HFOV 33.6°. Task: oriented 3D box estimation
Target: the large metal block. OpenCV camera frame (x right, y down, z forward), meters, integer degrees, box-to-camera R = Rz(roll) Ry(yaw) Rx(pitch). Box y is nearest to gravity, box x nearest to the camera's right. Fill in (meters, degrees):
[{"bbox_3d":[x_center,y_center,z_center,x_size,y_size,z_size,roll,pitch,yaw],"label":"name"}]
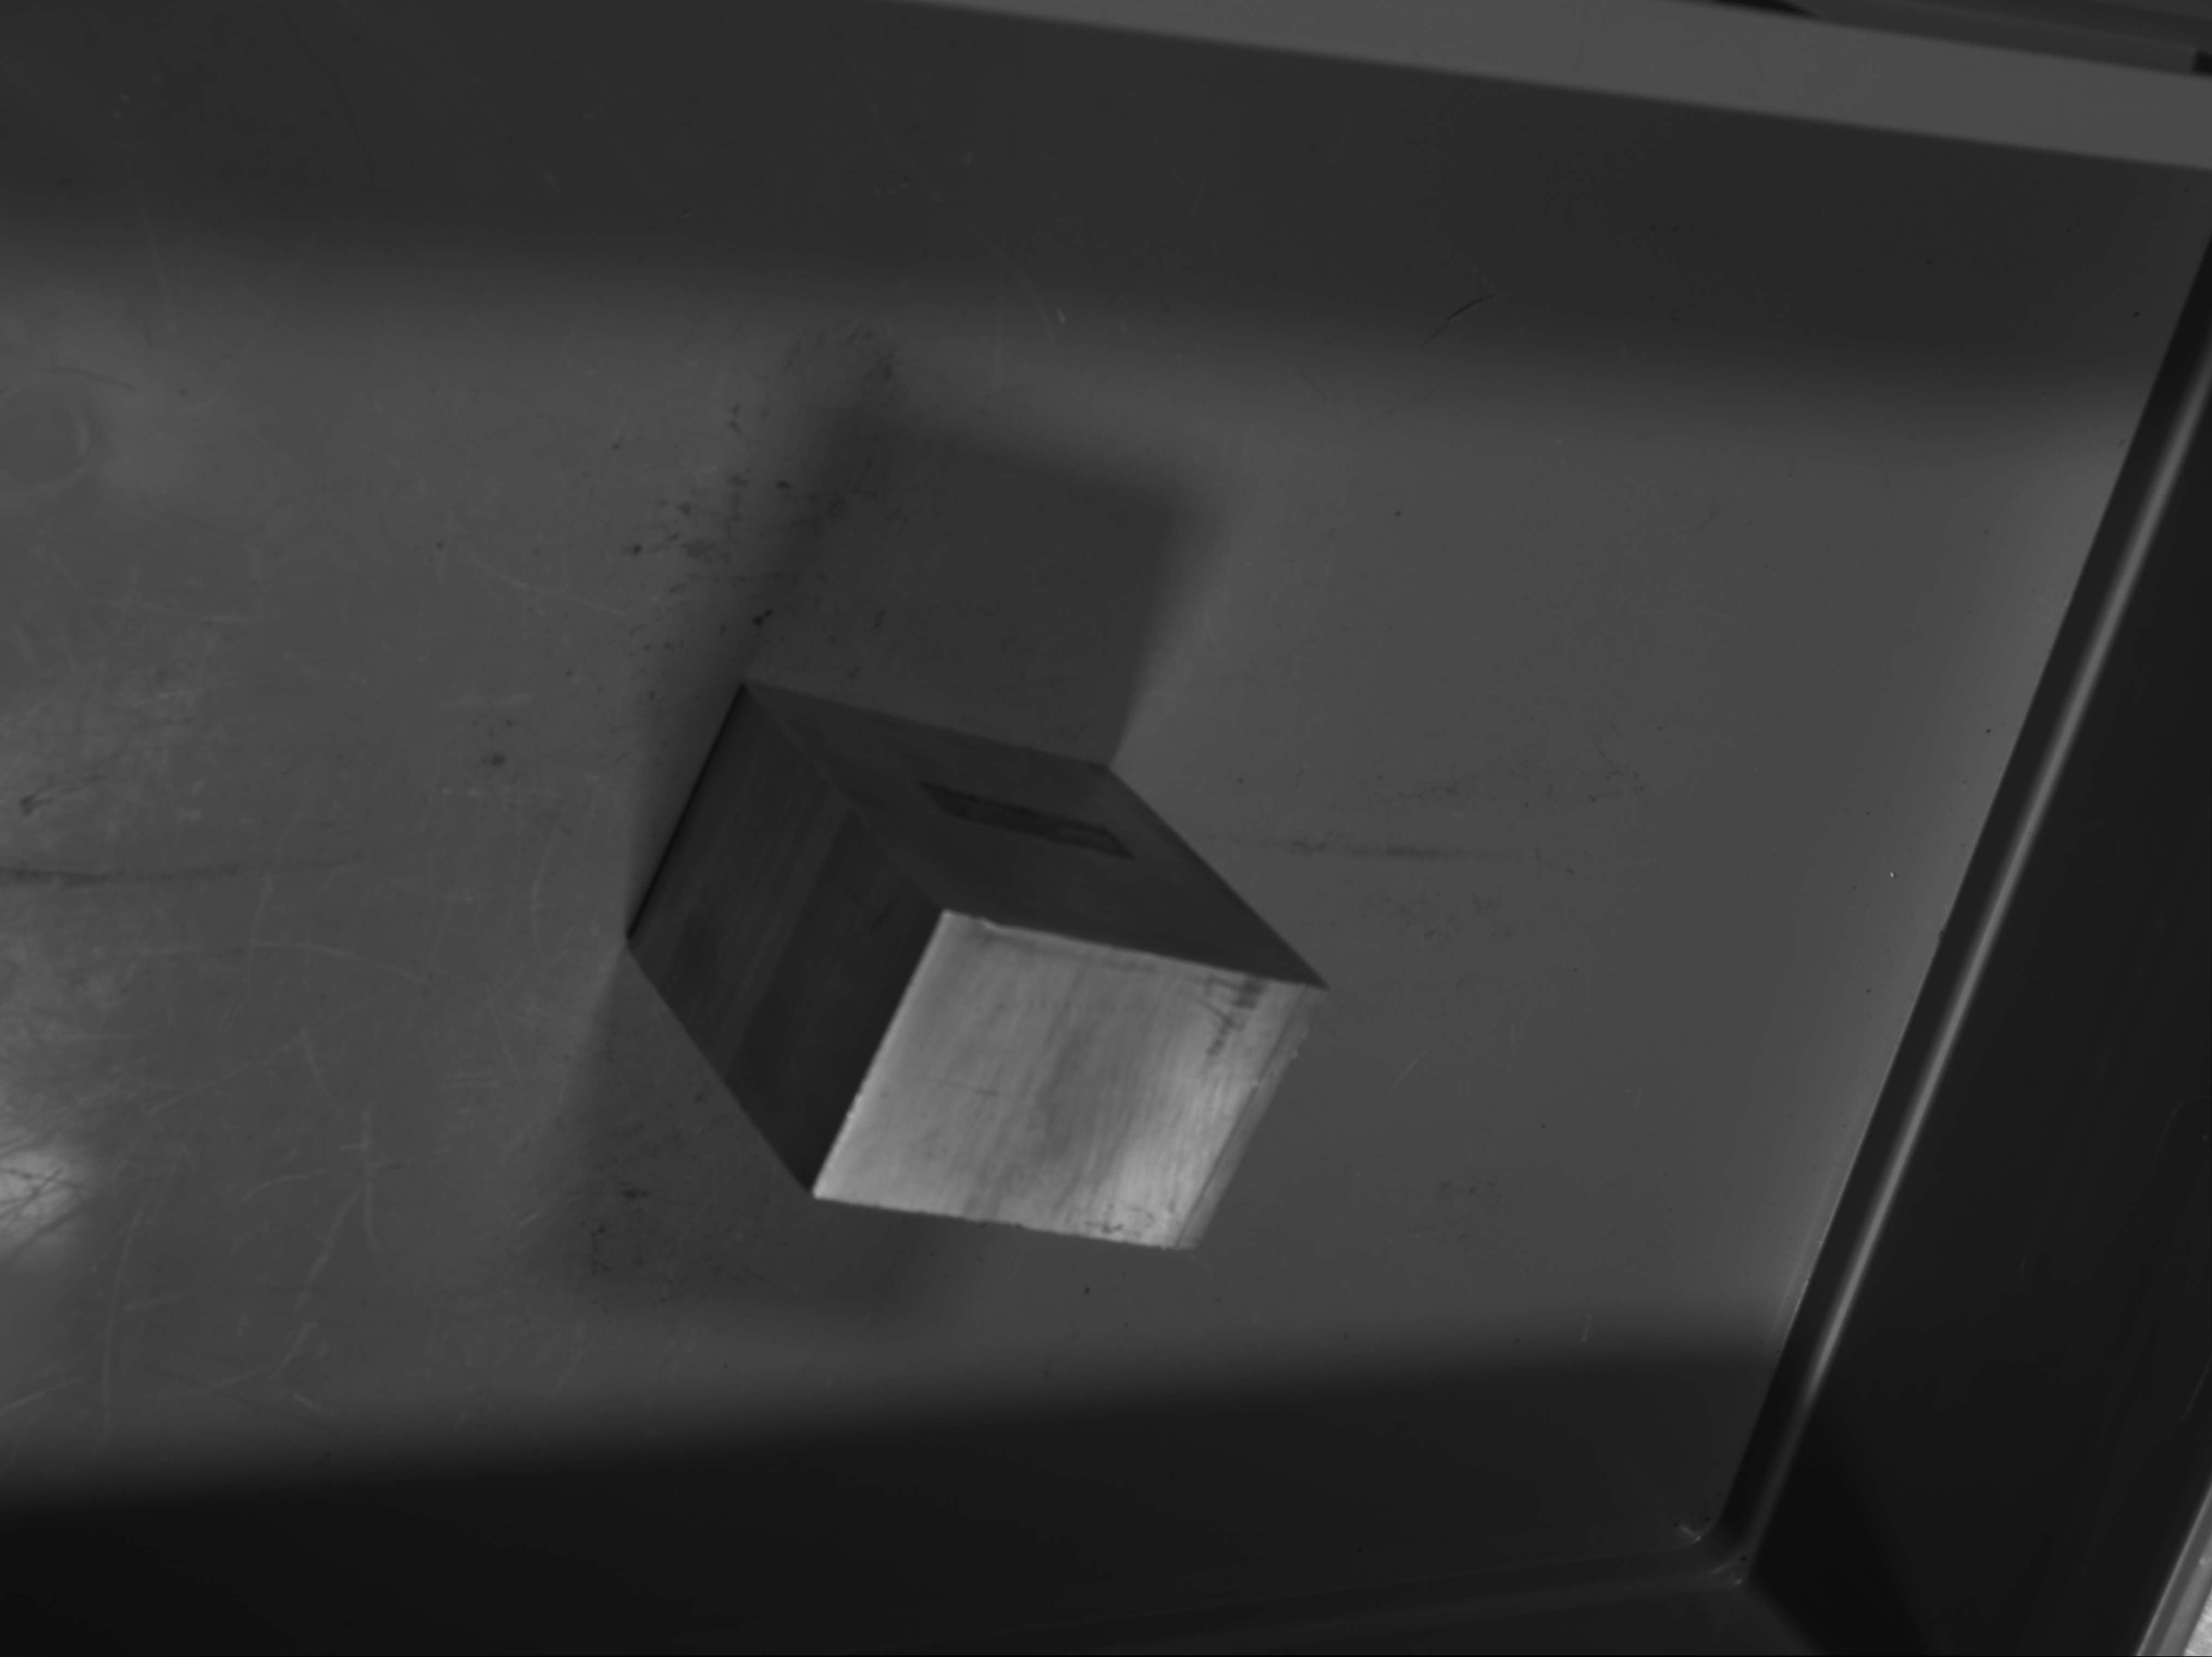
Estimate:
[{"bbox_3d":[-0.016,0.024,0.618,0.080,0.080,0.050,13,111,-35],"label":"large metal block"}]
